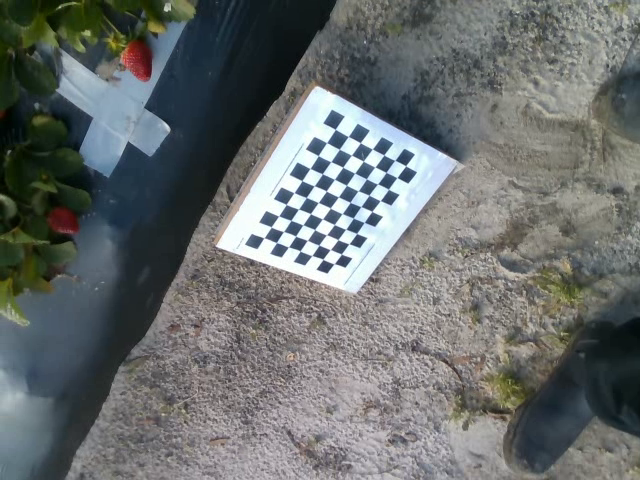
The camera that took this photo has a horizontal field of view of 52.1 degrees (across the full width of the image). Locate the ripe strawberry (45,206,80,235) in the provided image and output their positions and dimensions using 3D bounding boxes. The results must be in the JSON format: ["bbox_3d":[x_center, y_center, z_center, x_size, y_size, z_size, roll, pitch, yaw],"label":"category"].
[{"bbox_3d":[-0.167,-0.009,0.436,0.022,0.021,0.018,34,-45,-4],"label":"ripe strawberry"}]

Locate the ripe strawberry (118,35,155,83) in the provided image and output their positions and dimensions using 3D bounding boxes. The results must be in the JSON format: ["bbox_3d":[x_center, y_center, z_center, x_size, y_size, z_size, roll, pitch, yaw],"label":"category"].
[{"bbox_3d":[-0.106,-0.099,0.388,0.023,0.026,0.020,-29,4,39],"label":"ripe strawberry"}]
